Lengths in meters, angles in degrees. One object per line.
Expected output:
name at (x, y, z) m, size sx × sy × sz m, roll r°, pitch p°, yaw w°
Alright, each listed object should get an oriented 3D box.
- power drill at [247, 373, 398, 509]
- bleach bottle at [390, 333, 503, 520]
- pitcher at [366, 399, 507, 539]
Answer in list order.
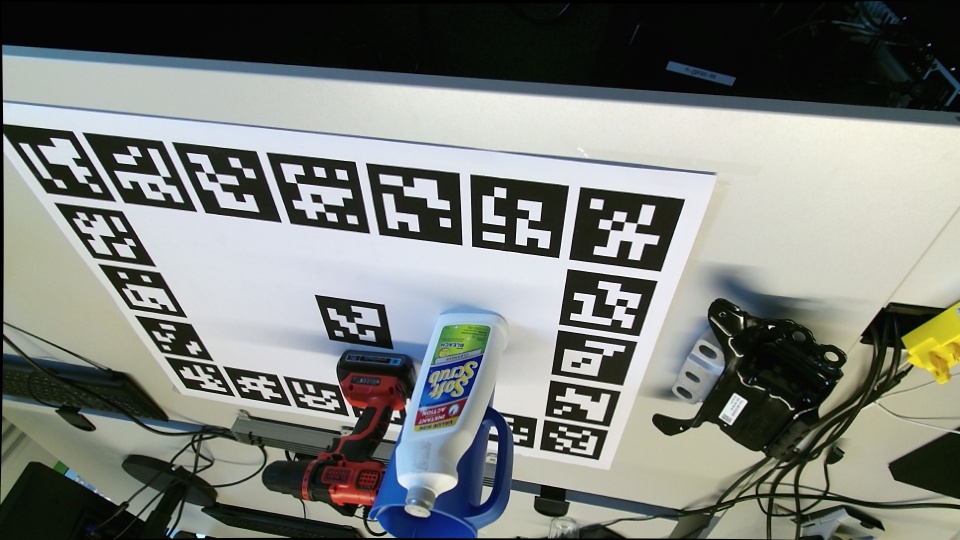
power drill at (-0.212, 0.235, 0.758) m, size 0.185 × 0.186 × 0.057 m, roll 6°, pitch 130°, yaw 16°
bleach bottle at (-0.041, 0.187, 0.631) m, size 0.103 × 0.250 × 0.068 m, roll 1°, pitch 132°, yaw 12°
pitcher at (-0.048, 0.247, 0.716) m, size 0.189 × 0.241 × 0.133 m, roll -15°, pitch 125°, yaw 25°
